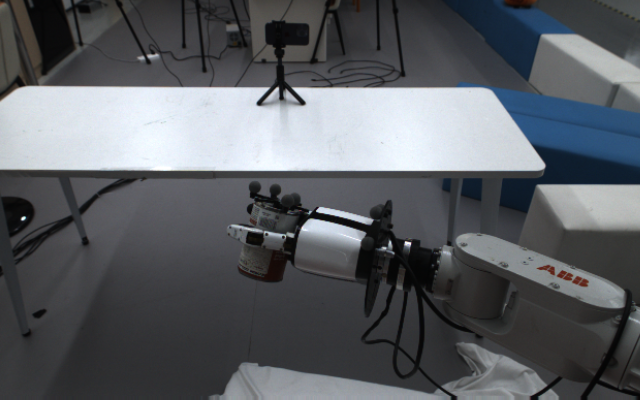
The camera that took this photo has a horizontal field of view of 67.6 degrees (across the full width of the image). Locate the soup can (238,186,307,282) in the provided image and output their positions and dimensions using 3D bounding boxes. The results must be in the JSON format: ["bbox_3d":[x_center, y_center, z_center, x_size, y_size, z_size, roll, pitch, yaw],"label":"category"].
[{"bbox_3d":[-0.071,0.057,0.679,0.067,0.101,0.067,15,7,-2],"label":"soup can"}]
